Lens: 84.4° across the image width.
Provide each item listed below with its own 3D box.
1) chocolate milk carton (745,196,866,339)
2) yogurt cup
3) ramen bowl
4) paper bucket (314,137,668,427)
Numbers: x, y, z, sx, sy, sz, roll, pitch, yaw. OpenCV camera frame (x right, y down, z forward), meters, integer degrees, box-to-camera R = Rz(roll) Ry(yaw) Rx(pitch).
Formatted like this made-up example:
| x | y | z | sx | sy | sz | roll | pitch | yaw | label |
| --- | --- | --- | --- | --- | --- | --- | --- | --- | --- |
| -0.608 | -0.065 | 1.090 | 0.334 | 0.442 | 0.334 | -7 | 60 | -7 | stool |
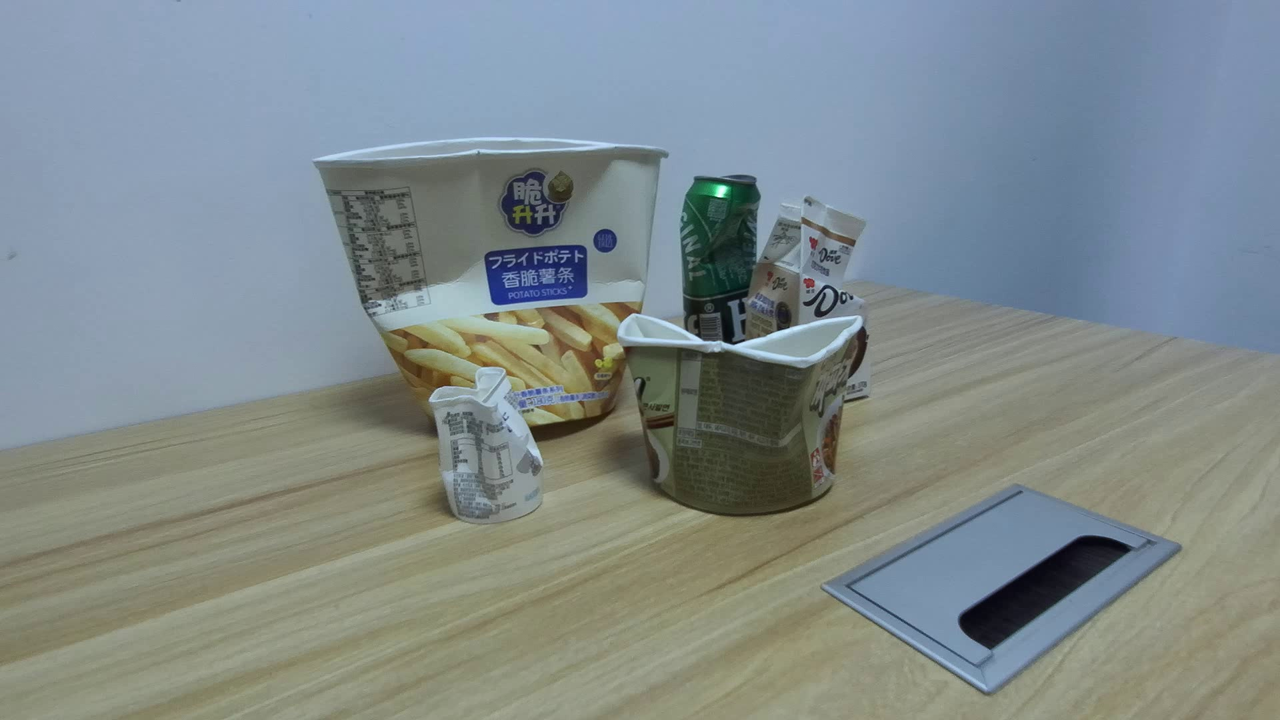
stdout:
| x | y | z | sx | sy | sz | roll | pitch | yaw | label |
| --- | --- | --- | --- | --- | --- | --- | --- | --- | --- |
| 0.127 | -0.047 | 0.533 | 0.076 | 0.155 | 0.073 | -9 | 21 | -25 | chocolate milk carton |
| -0.086 | 0.047 | 0.396 | 0.055 | 0.072 | 0.055 | 4 | 20 | 23 | yogurt cup |
| 0.053 | 0.023 | 0.417 | 0.128 | 0.093 | 0.112 | 8 | 21 | 27 | ramen bowl |
| -0.090 | -0.058 | 0.517 | 0.147 | 0.199 | 0.219 | 13 | 23 | 37 | paper bucket |
